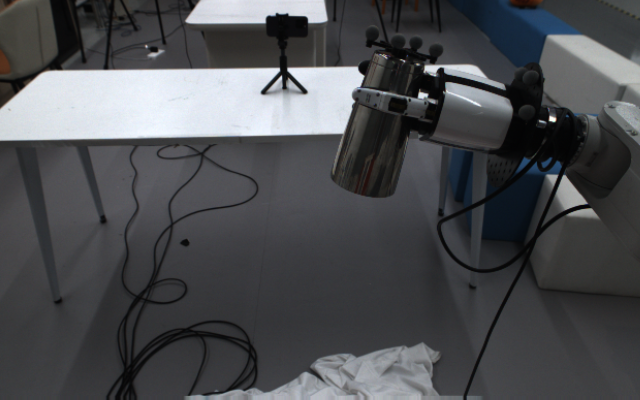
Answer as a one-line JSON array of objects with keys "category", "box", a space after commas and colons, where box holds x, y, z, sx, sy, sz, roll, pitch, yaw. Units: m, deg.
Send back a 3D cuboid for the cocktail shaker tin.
[{"category": "cocktail shaker tin", "box": [0.081, -0.103, 0.627, 0.093, 0.170, 0.093, 12, 25, -6]}]
